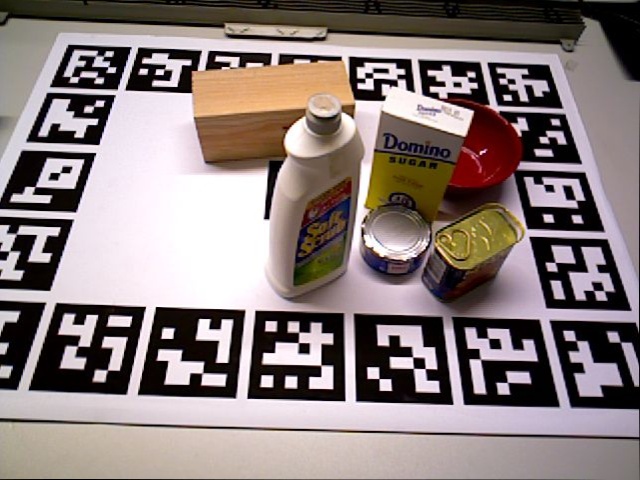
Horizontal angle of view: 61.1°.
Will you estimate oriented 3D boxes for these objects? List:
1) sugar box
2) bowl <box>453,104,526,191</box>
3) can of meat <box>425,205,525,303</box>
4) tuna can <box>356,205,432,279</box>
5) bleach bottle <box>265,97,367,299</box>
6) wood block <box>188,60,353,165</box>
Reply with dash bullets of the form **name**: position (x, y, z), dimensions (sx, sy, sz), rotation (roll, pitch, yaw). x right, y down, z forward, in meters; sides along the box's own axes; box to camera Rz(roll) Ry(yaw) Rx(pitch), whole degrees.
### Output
- **sugar box**: position (0.112, -0.088, 0.615), dimensions (0.093, 0.180, 0.044), rotation (18, 58, 13)
- **bowl**: position (0.188, -0.117, 0.714), dimensions (0.161, 0.056, 0.159), rotation (-2, 56, 2)
- **can of meat**: position (0.172, 0.015, 0.613), dimensions (0.100, 0.085, 0.057), rotation (-24, 57, -19)
- **tuna can**: position (0.086, 0.003, 0.641), dimensions (0.085, 0.034, 0.084), rotation (0, 60, -1)
- **bleach bottle**: position (-0.008, -0.041, 0.538), dimensions (0.101, 0.256, 0.067), rotation (-20, 58, -16)
- **wood block**: position (-0.069, -0.170, 0.723), dimensions (0.204, 0.091, 0.090), rotation (-6, 61, -7)
